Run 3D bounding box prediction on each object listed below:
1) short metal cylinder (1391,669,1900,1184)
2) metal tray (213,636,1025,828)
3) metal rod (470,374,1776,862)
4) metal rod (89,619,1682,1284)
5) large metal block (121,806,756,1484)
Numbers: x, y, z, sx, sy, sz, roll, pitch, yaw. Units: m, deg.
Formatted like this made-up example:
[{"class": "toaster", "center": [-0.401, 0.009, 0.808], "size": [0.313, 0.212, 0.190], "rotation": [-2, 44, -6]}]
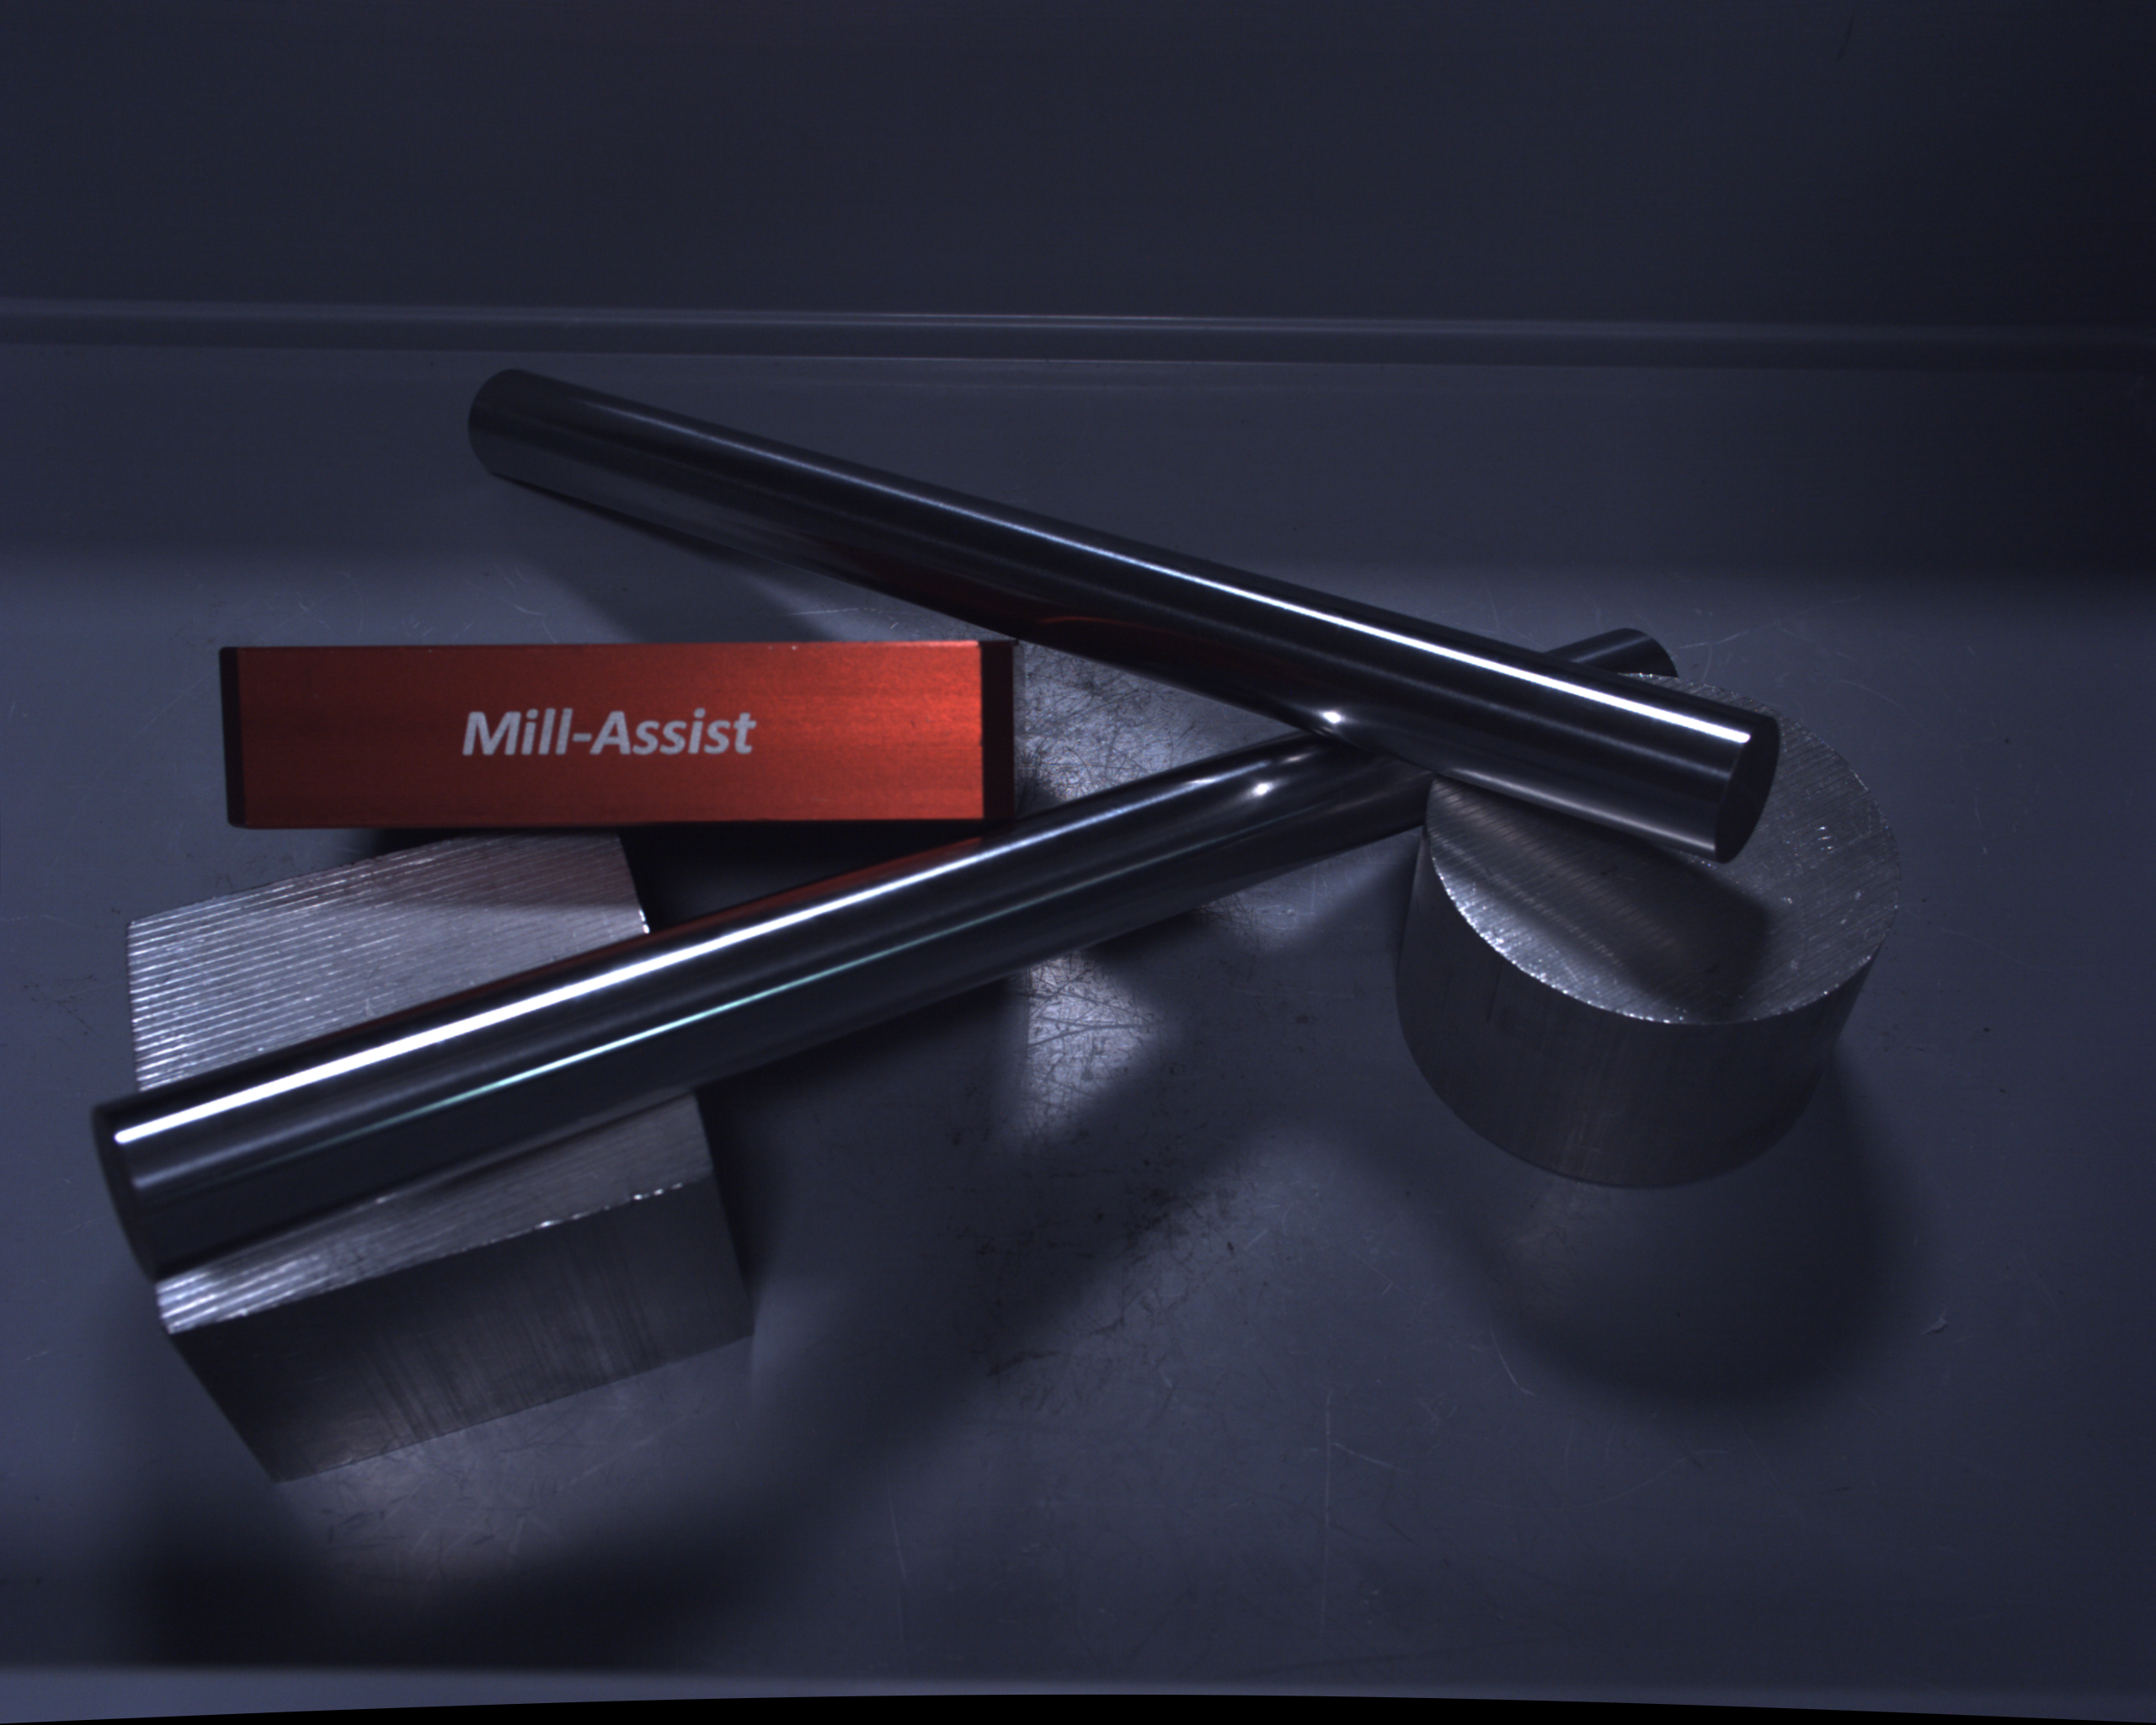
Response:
[{"class": "short metal cylinder", "center": [0.100, 0.011, 0.378], "size": [0.081, 0.050, 0.080], "rotation": [0, 50, 0]}, {"class": "metal tray", "center": [-0.077, -0.026, 0.385], "size": [0.131, 0.030, 0.090], "rotation": [-1, 6, 1]}, {"class": "metal rod", "center": [-0.013, -0.057, 0.413], "size": [0.300, 0.025, 0.025], "rotation": [21, 52, 31]}, {"class": "metal rod", "center": [-0.004, 0.002, 0.353], "size": [0.302, 0.025, 0.025], "rotation": [-19, 52, -33]}, {"class": "large metal block", "center": [-0.105, 0.044, 0.345], "size": [0.081, 0.050, 0.080], "rotation": [-15, 52, -13]}]
